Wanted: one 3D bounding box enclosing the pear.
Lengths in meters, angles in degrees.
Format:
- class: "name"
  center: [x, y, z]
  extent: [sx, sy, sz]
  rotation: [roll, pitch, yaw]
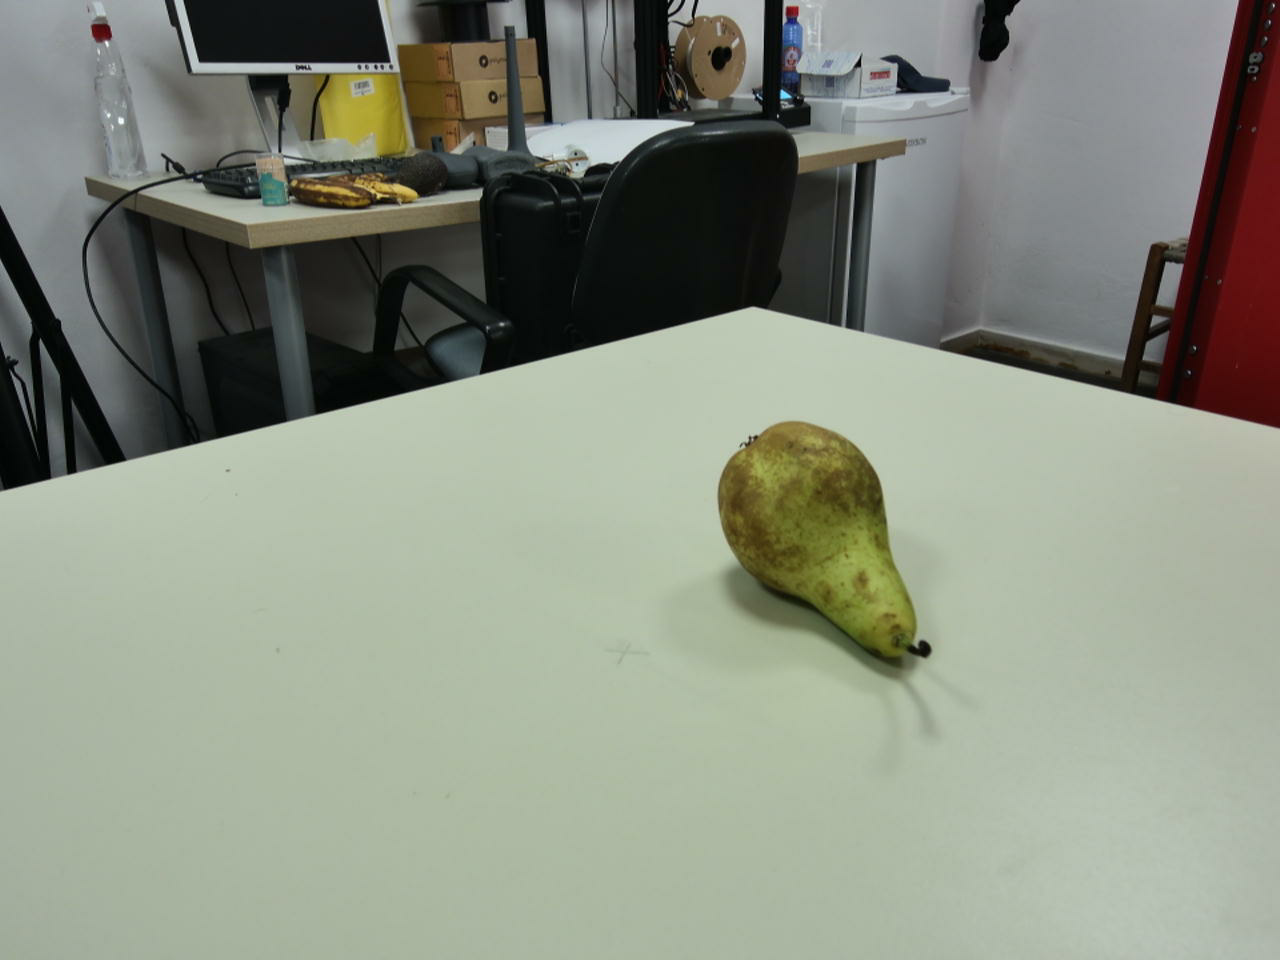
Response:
- class: "pear"
  center: [0.089, 0.023, 0.420]
  extent: [0.071, 0.075, 0.144]
  rotation: [-13, 25, -29]
